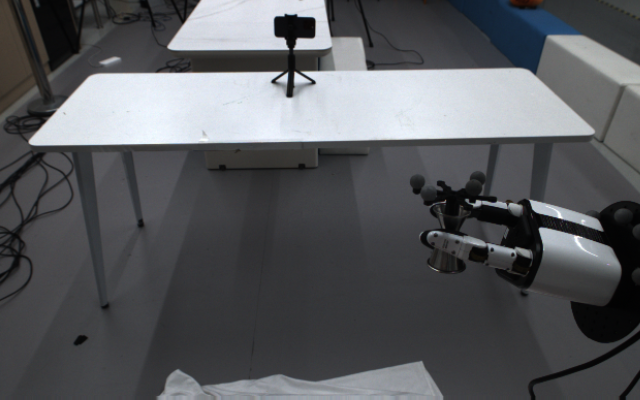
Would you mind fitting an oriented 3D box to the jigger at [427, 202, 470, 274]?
[{"bbox_3d":[0.144,0.042,0.544,0.043,0.071,0.043,0,21,0],"label":"jigger"}]
